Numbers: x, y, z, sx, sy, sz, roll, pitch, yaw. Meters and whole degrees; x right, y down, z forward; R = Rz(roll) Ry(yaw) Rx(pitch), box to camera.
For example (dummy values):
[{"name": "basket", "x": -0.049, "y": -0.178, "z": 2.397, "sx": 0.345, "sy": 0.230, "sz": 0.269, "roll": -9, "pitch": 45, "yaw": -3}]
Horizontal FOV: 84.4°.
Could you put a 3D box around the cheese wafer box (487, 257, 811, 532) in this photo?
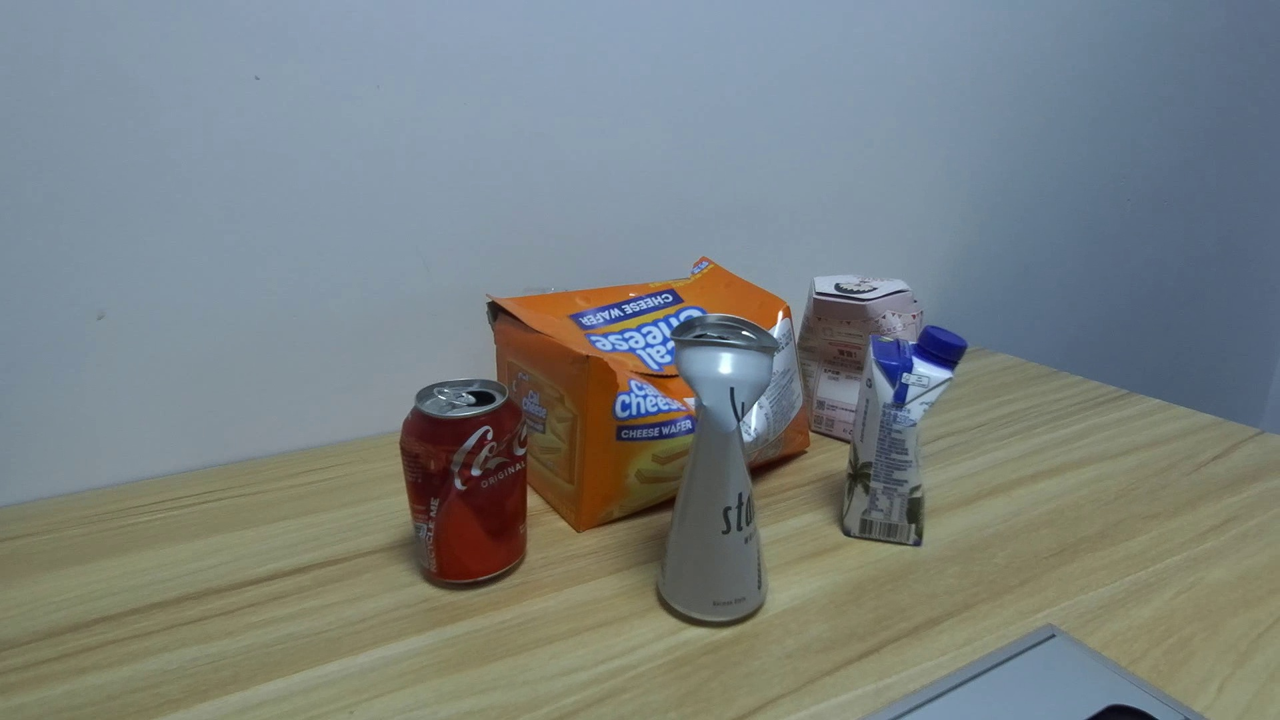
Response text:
[{"name": "cheese wafer box", "x": 0.019, "y": 0.014, "z": 0.556, "sx": 0.220, "sy": 0.145, "sz": 0.190, "roll": -12, "pitch": 21, "yaw": -31}]

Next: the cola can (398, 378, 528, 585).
[{"name": "cola can", "x": -0.105, "y": 0.073, "z": 0.432, "sx": 0.066, "sy": 0.117, "sz": 0.066, "roll": 5, "pitch": 19, "yaw": 19}]

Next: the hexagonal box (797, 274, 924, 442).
[{"name": "hexagonal box", "x": 0.194, "y": -0.001, "z": 0.622, "sx": 0.090, "sy": 0.134, "sz": 0.091, "roll": -8, "pitch": 23, "yaw": -5}]

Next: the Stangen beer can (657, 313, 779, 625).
[{"name": "Stangen beer can", "x": 0.042, "y": 0.060, "z": 0.387, "sx": 0.066, "sy": 0.162, "sz": 0.076, "roll": -13, "pitch": 23, "yaw": -34}]
